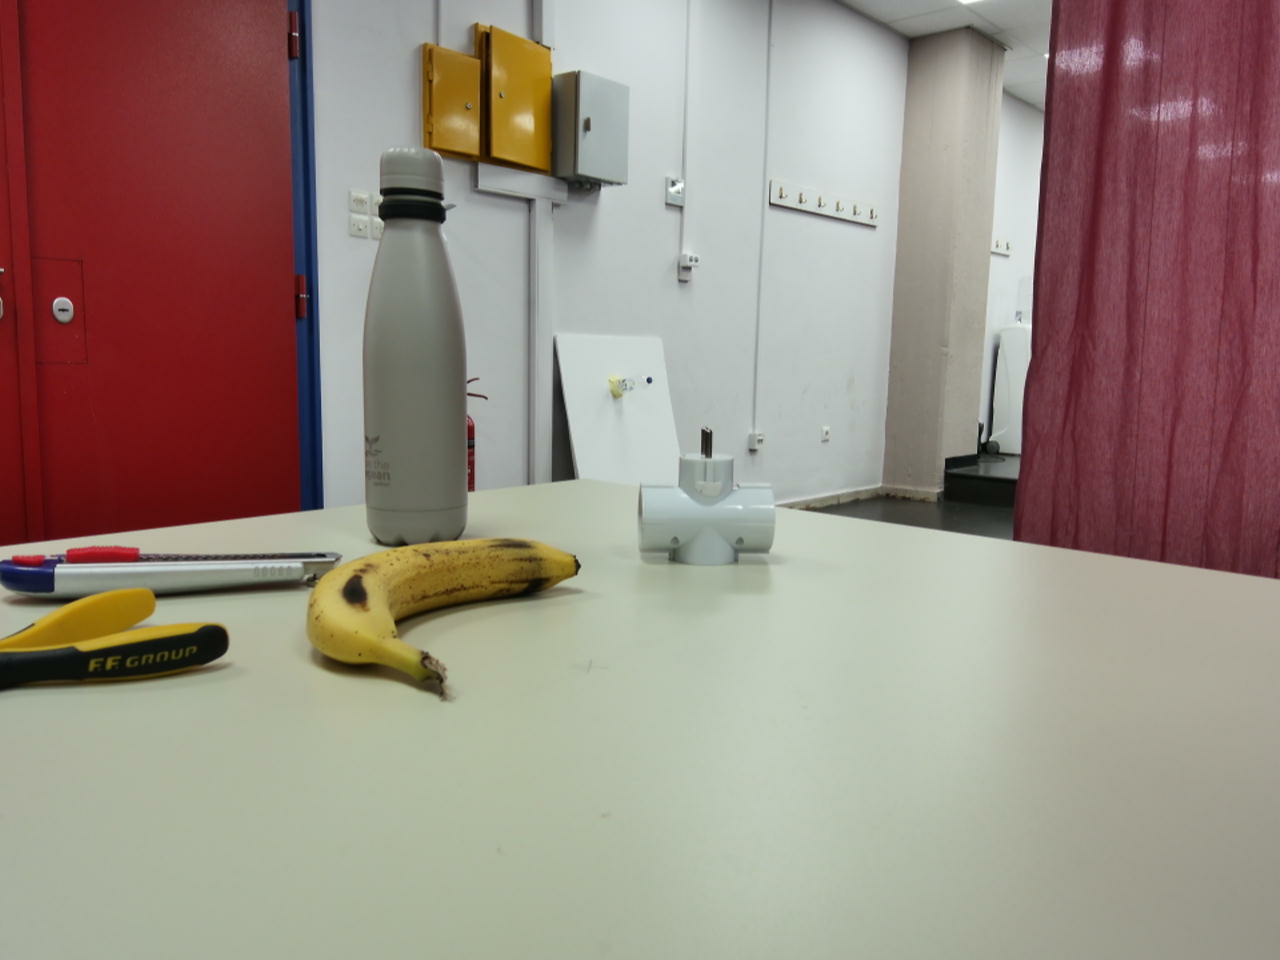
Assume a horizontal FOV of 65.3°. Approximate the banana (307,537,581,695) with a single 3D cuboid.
[{"bbox_3d":[-0.104,0.057,0.506,0.097,0.038,0.186,2,6,13],"label":"banana"}]
